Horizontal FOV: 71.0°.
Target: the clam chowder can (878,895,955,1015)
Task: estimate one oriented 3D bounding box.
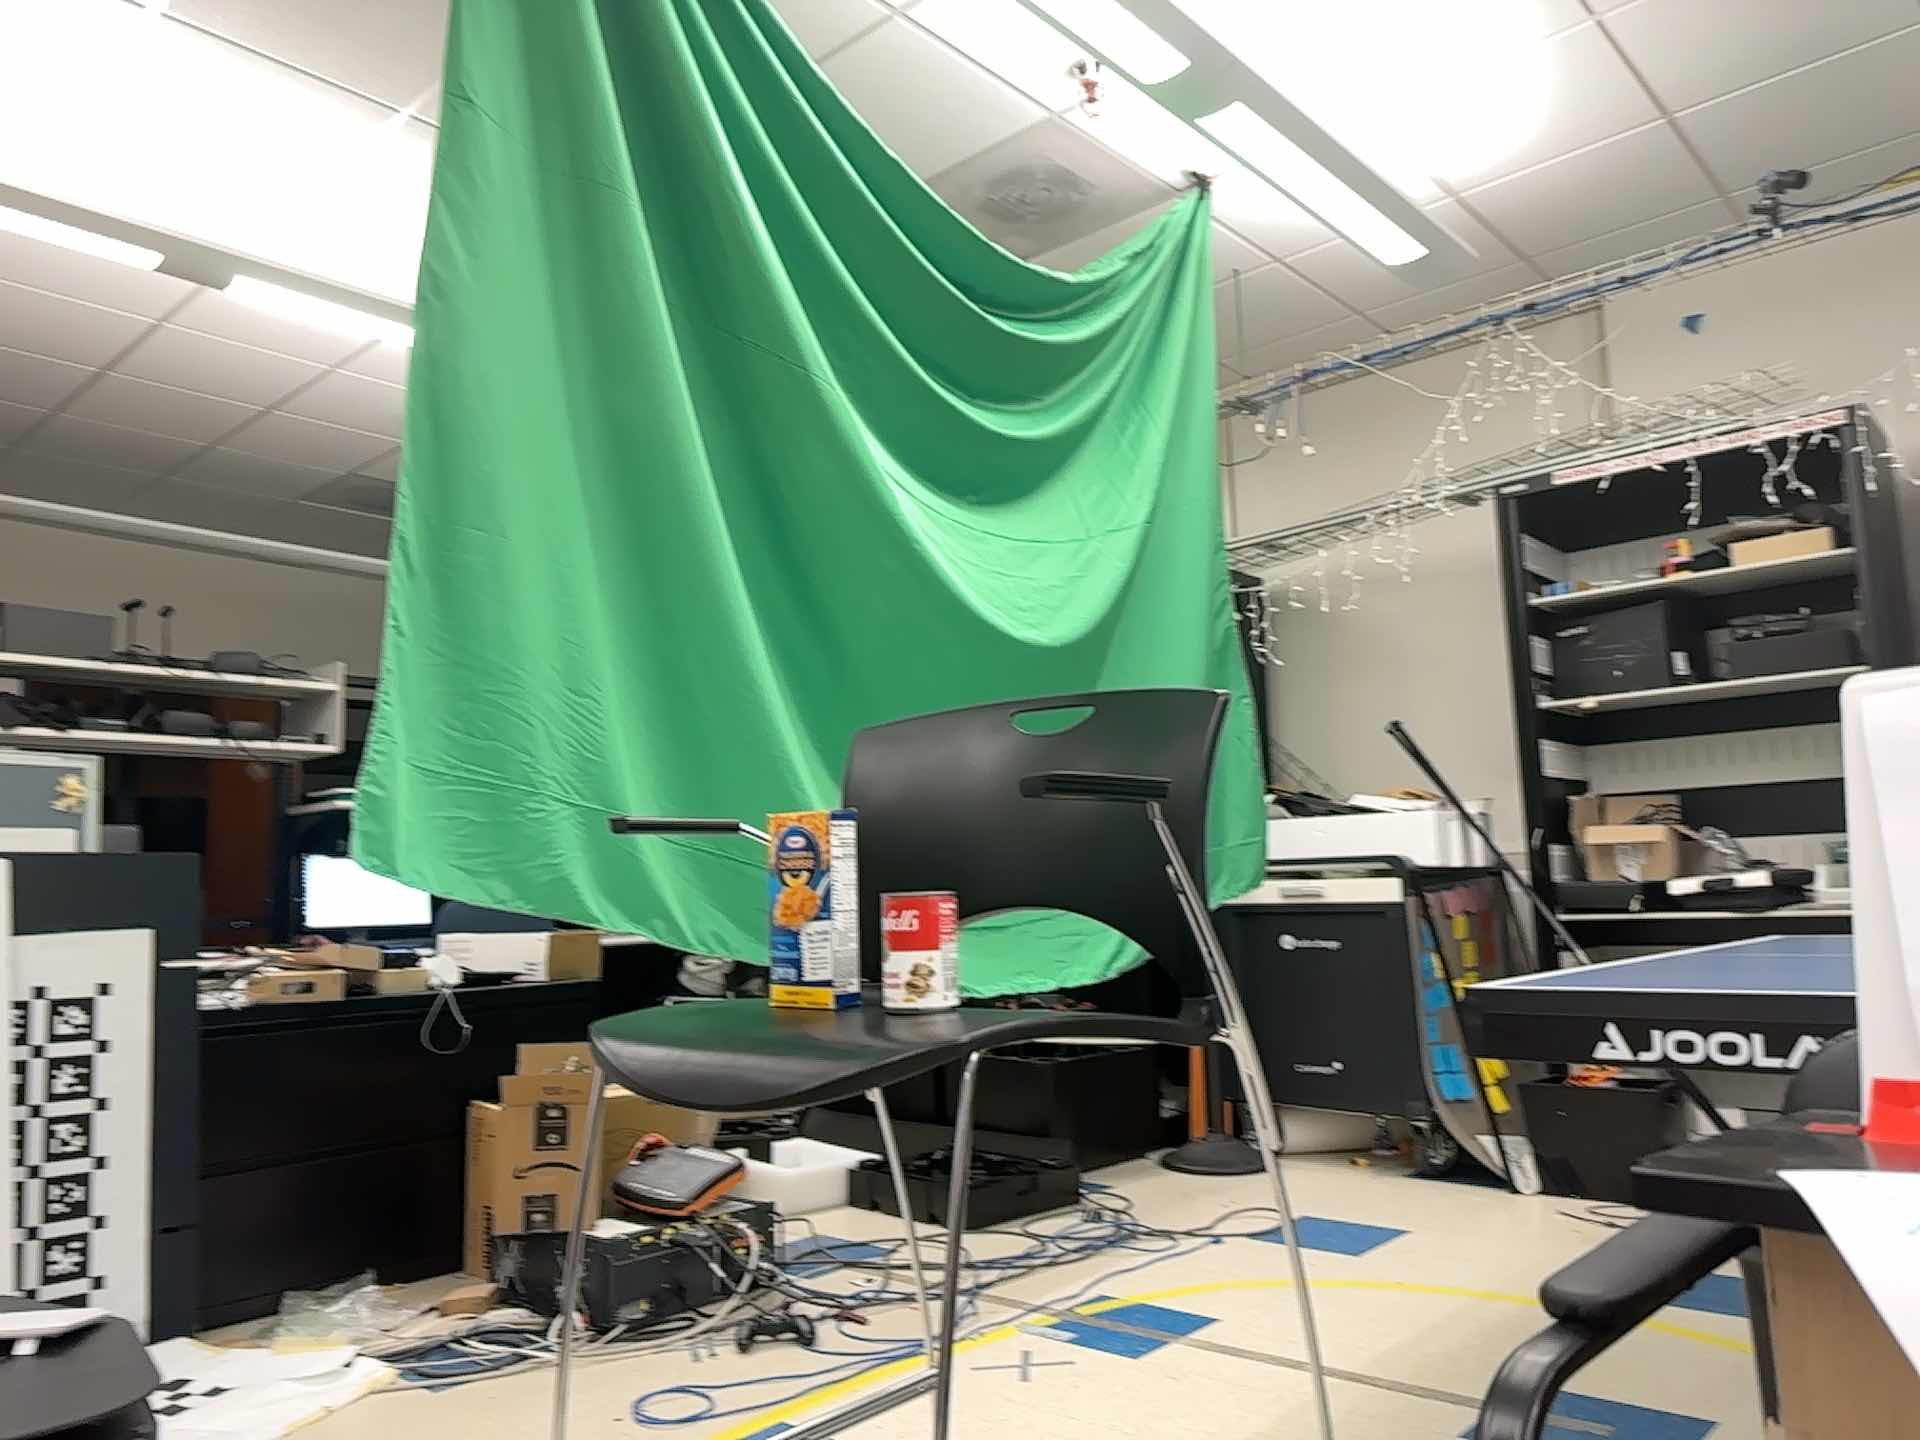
[{"bbox_3d":[-0.038,0.207,1.193,0.068,0.102,0.068,-1,-7,0],"label":"clam chowder can"}]

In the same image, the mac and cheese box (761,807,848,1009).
[{"bbox_3d":[-0.149,0.176,1.277,0.035,0.181,0.088,2,-6,-42],"label":"mac and cheese box"}]
